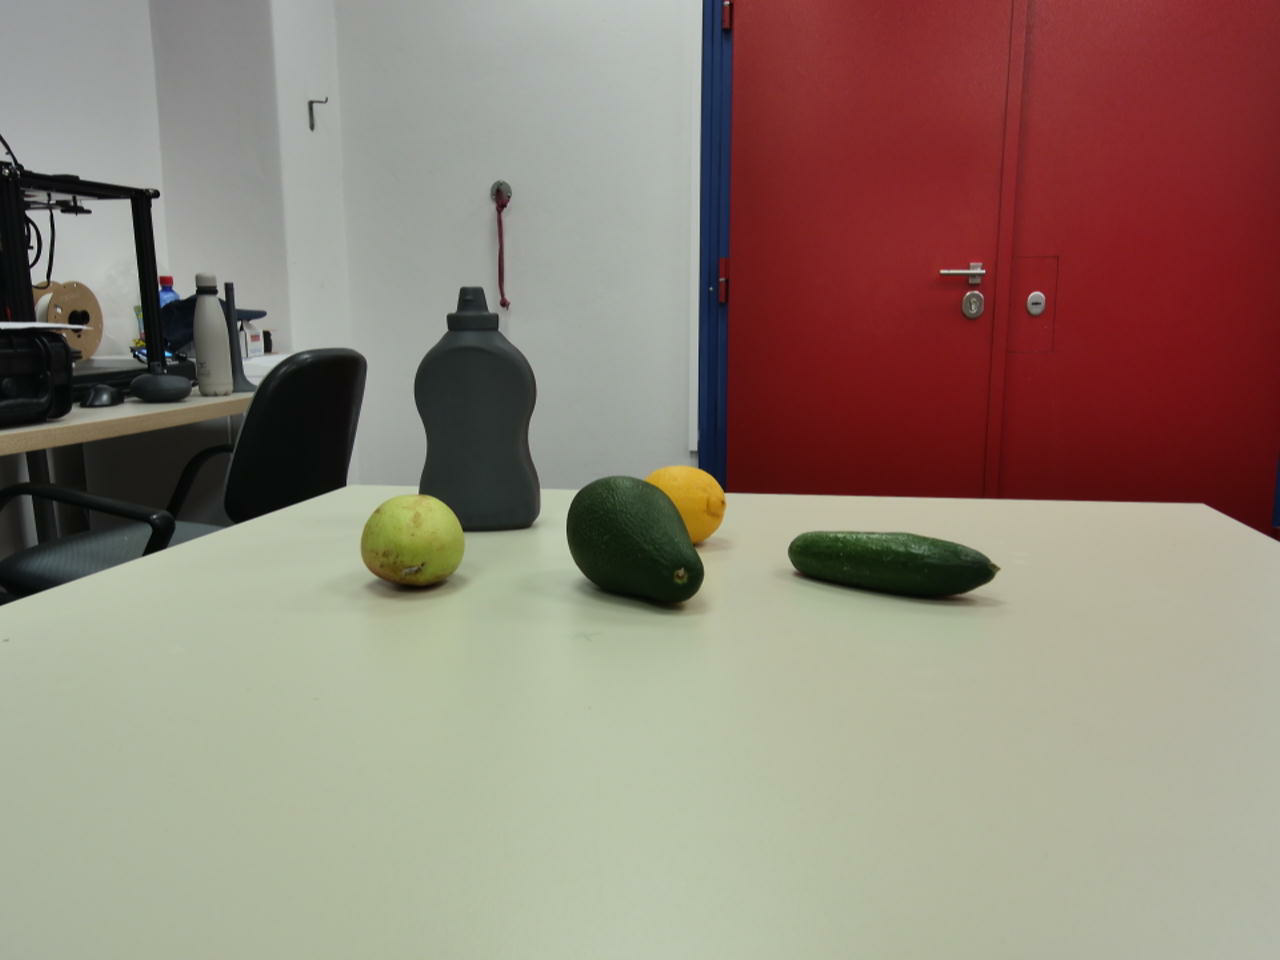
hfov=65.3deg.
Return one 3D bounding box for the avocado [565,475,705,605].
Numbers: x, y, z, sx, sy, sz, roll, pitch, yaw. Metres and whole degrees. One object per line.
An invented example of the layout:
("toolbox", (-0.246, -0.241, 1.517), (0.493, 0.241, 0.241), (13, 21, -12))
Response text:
("avocado", (-0.006, 0.034, 0.604), (0.072, 0.071, 0.109), (-1, 7, -11))
